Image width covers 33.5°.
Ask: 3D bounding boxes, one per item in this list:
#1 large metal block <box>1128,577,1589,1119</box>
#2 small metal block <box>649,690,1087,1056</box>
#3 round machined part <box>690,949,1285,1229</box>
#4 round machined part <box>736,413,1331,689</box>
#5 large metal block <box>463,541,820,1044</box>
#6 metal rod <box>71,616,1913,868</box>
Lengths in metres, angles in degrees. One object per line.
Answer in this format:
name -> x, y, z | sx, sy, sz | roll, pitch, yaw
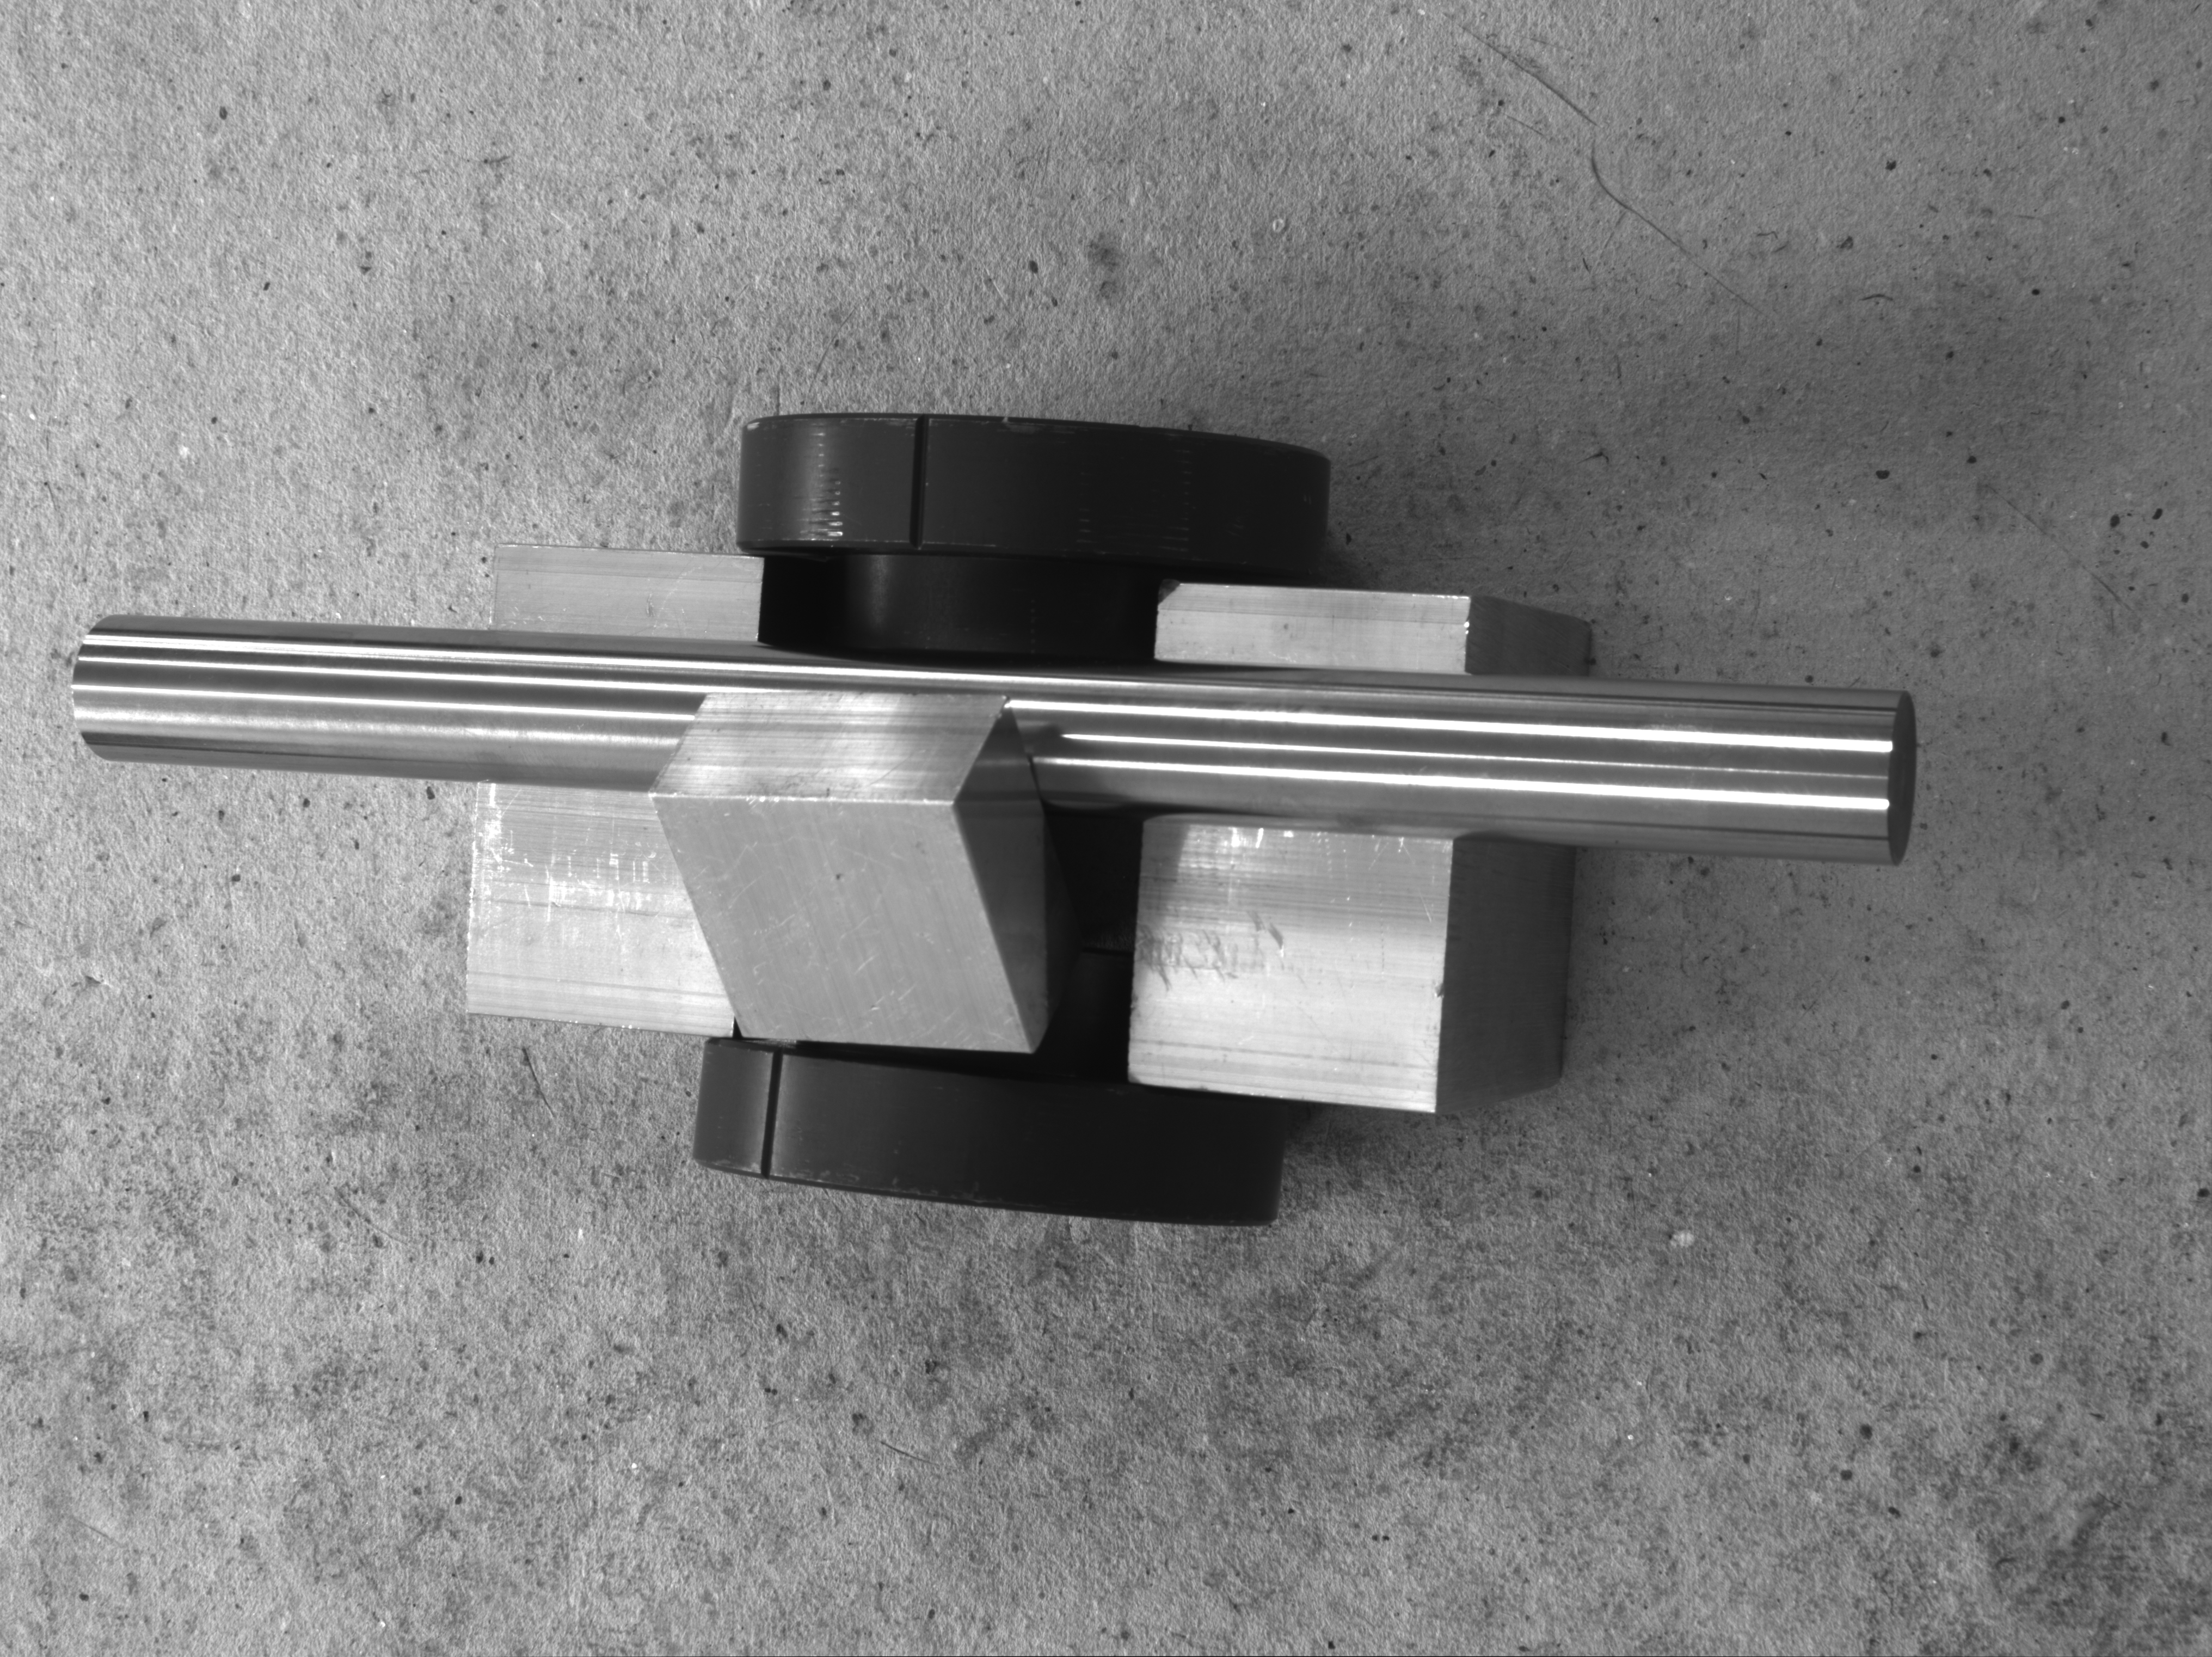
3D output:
large metal block -> 0.043, 0.003, 0.602 | 0.050, 0.080, 0.080 | 4, 91, 20
small metal block -> -0.035, 0.007, 0.560 | 0.050, 0.025, 0.050 | 2, 131, 22
round machined part -> -0.018, 0.040, 0.615 | 0.098, 0.098, 0.042 | 5, 86, 20
round machined part -> -0.013, -0.043, 0.613 | 0.098, 0.098, 0.042 | 4, 92, 20
large metal block -> -0.068, -0.006, 0.642 | 0.050, 0.080, 0.080 | 5, 91, 20
metal rod -> -0.027, -0.015, 0.572 | 0.299, 0.025, 0.025 | 3, 91, 20
